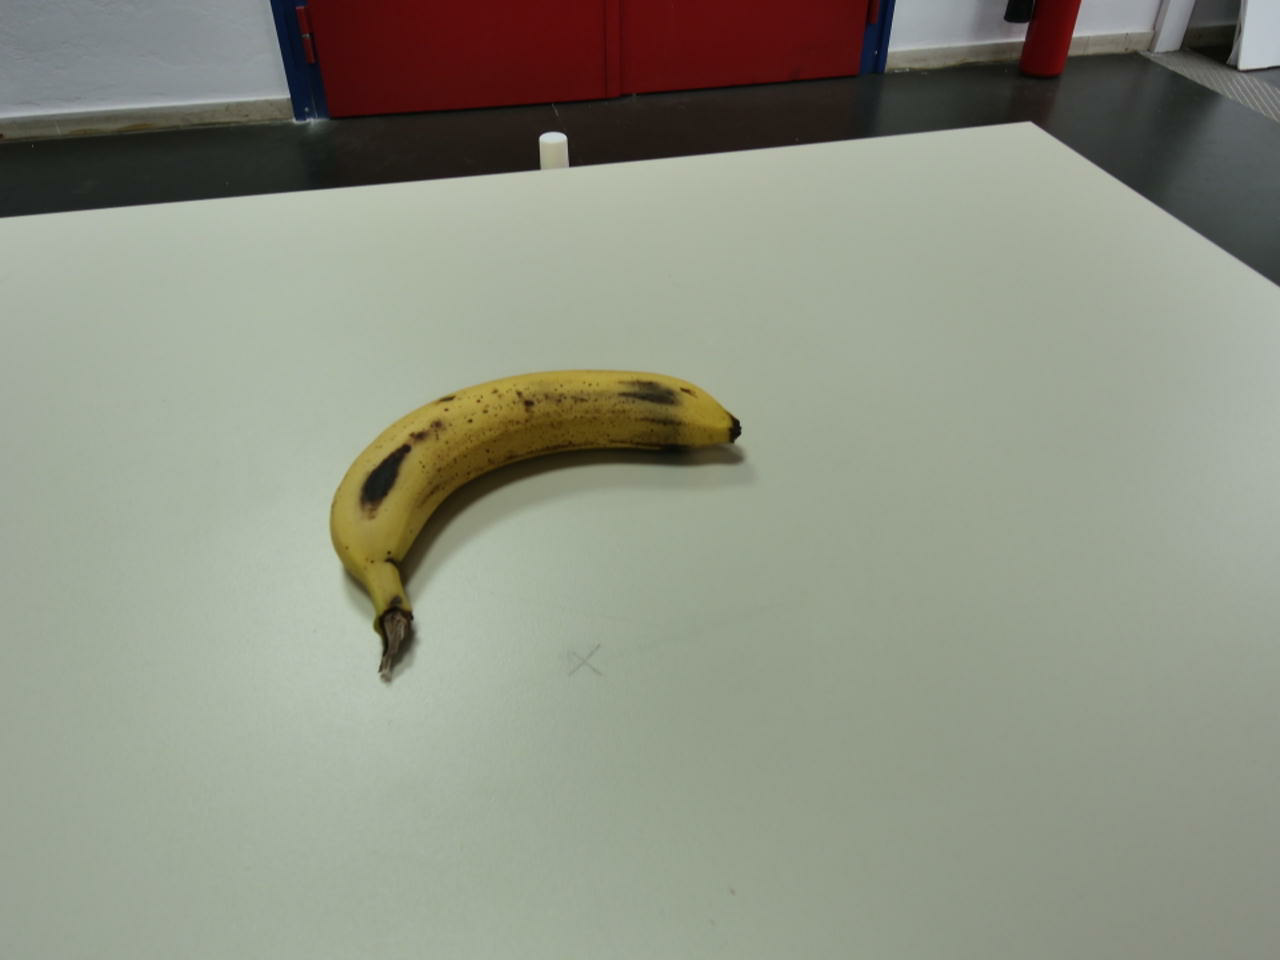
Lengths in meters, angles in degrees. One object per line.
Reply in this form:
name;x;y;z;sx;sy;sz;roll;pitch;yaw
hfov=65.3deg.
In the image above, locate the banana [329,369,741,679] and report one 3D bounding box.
banana;-0.052;-0.008;0.430;0.186;0.038;0.097;-28;46;-32
